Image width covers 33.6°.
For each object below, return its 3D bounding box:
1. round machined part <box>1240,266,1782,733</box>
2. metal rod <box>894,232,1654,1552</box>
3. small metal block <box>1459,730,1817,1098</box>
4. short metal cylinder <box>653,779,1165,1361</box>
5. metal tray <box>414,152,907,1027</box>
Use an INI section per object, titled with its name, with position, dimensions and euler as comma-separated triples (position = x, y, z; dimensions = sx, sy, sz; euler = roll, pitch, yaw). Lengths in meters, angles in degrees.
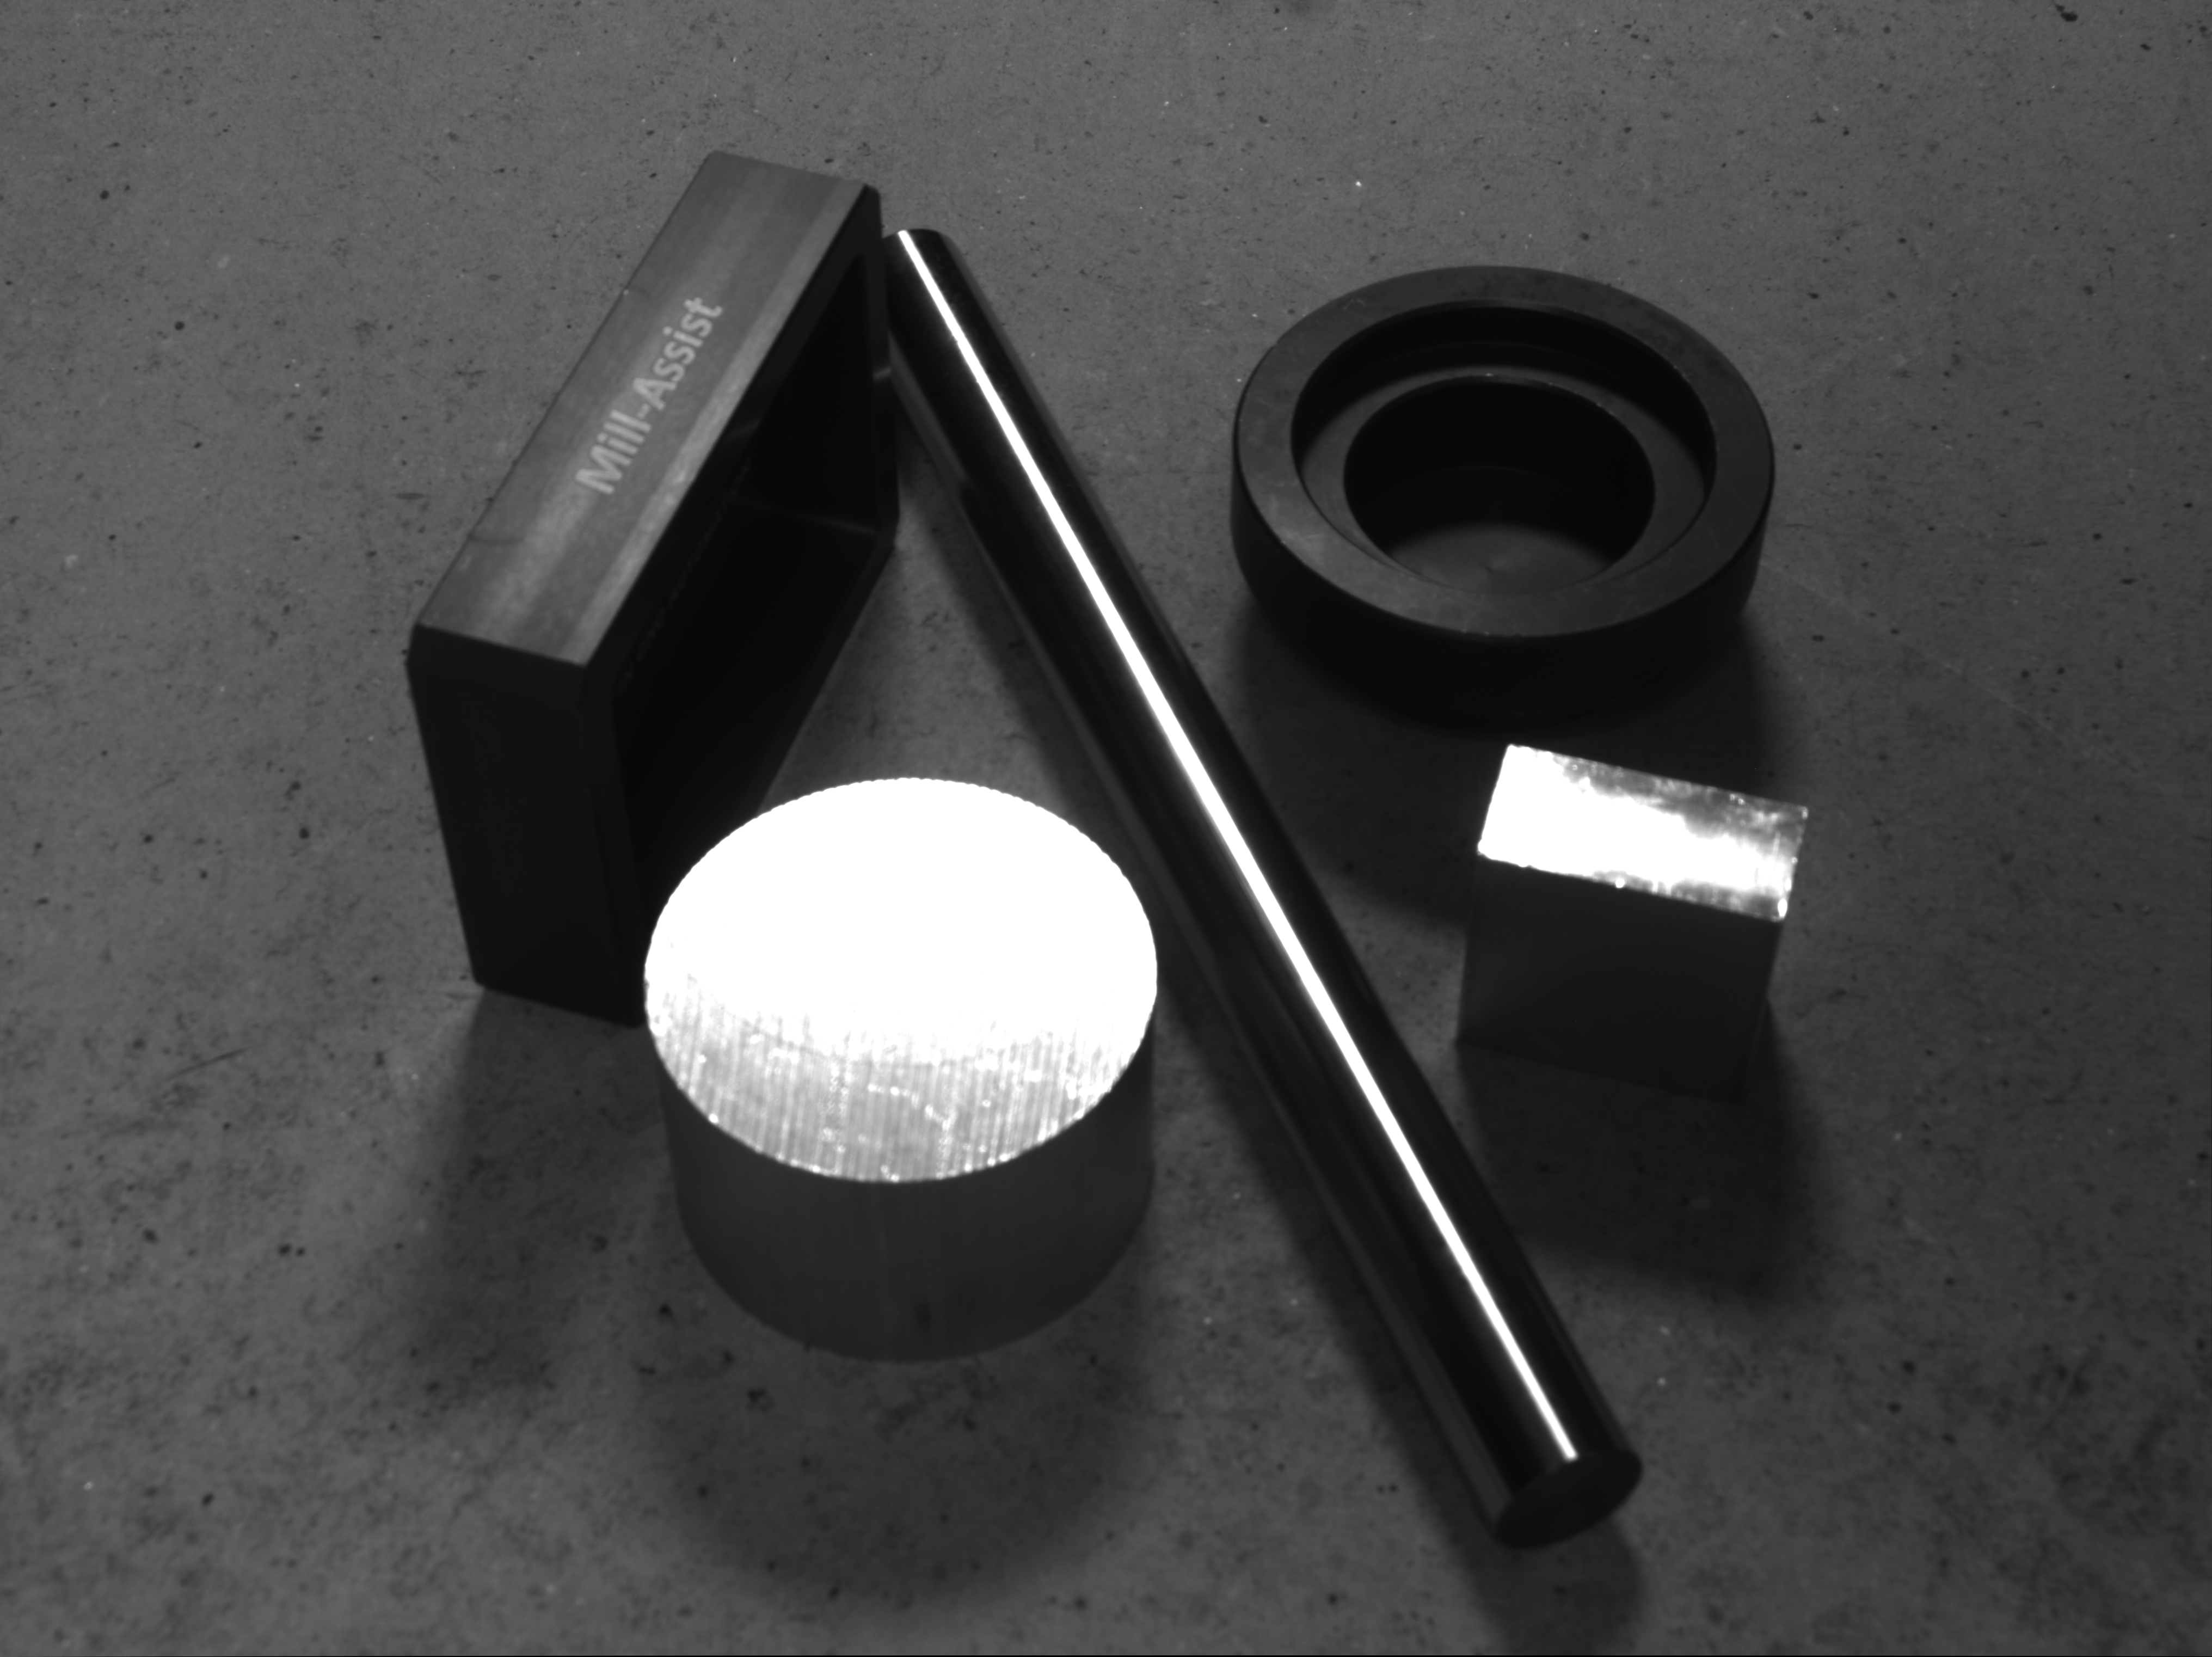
[round machined part]
position = 0.073, -0.056, 0.679
dimensions = 0.098, 0.042, 0.098
euler = 0, 50, 0
[metal rod]
position = 0.016, -0.004, 0.646
dimensions = 0.025, 0.025, 0.299
euler = -17, 52, -14
[small metal block]
position = 0.088, 0.015, 0.610
dimensions = 0.050, 0.050, 0.025
euler = 13, 51, 11
[short metal cylinder]
position = -0.031, 0.039, 0.593
dimensions = 0.080, 0.050, 0.080
euler = 0, 50, 0
[metal tray]
position = -0.073, -0.043, 0.636
dimensions = 0.030, 0.090, 0.130
euler = 14, 51, 12
